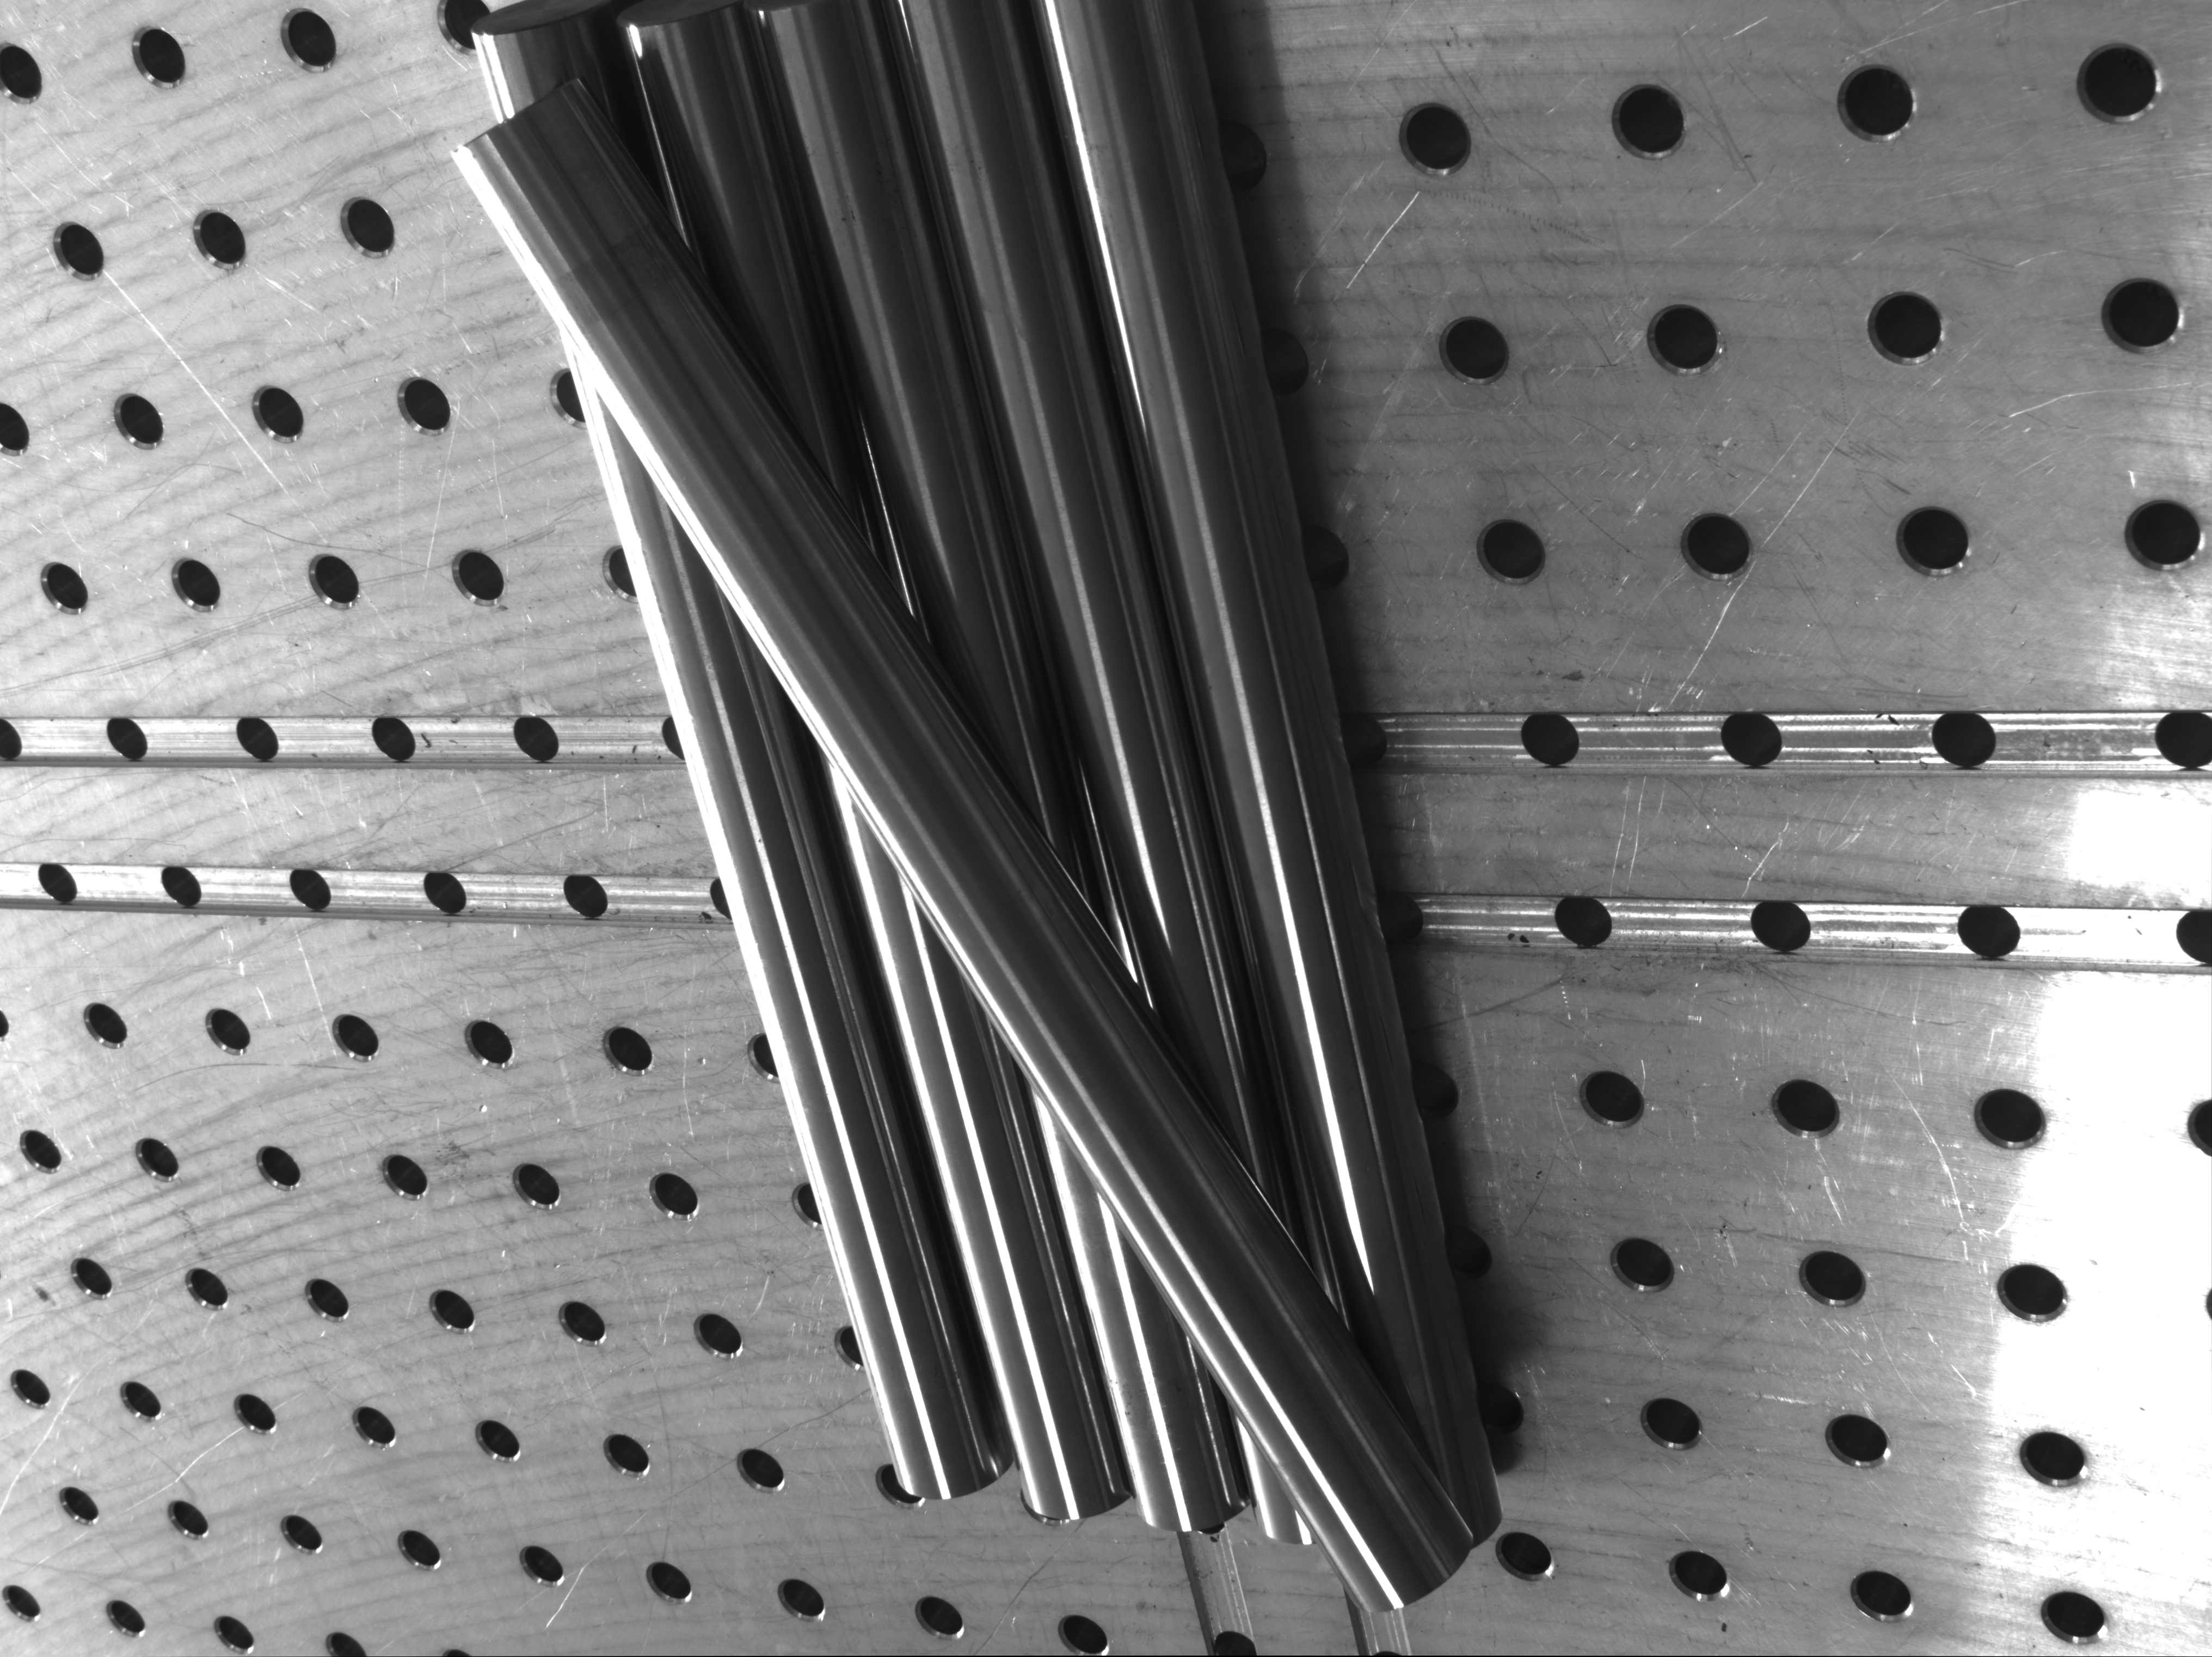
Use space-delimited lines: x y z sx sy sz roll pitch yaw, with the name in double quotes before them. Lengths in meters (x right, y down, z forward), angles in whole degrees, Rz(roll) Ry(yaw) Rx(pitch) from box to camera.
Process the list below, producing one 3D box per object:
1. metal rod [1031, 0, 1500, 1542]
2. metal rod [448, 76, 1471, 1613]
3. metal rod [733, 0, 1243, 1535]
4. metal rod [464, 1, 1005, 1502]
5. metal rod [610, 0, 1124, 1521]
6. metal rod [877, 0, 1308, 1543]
"metal rod" 0.031 -0.002 0.629 0.025 0.025 0.300 1 119 28
"metal rod" -0.020 0.009 0.630 0.025 0.025 0.300 -21 107 36
"metal rod" -0.015 -0.002 0.652 0.025 0.025 0.300 1 119 28
"metal rod" -0.063 -0.004 0.676 0.025 0.025 0.300 1 119 28
"metal rod" -0.037 -0.003 0.663 0.025 0.025 0.300 1 119 28
"metal rod" 0.008 -0.003 0.641 0.025 0.025 0.300 1 119 28
